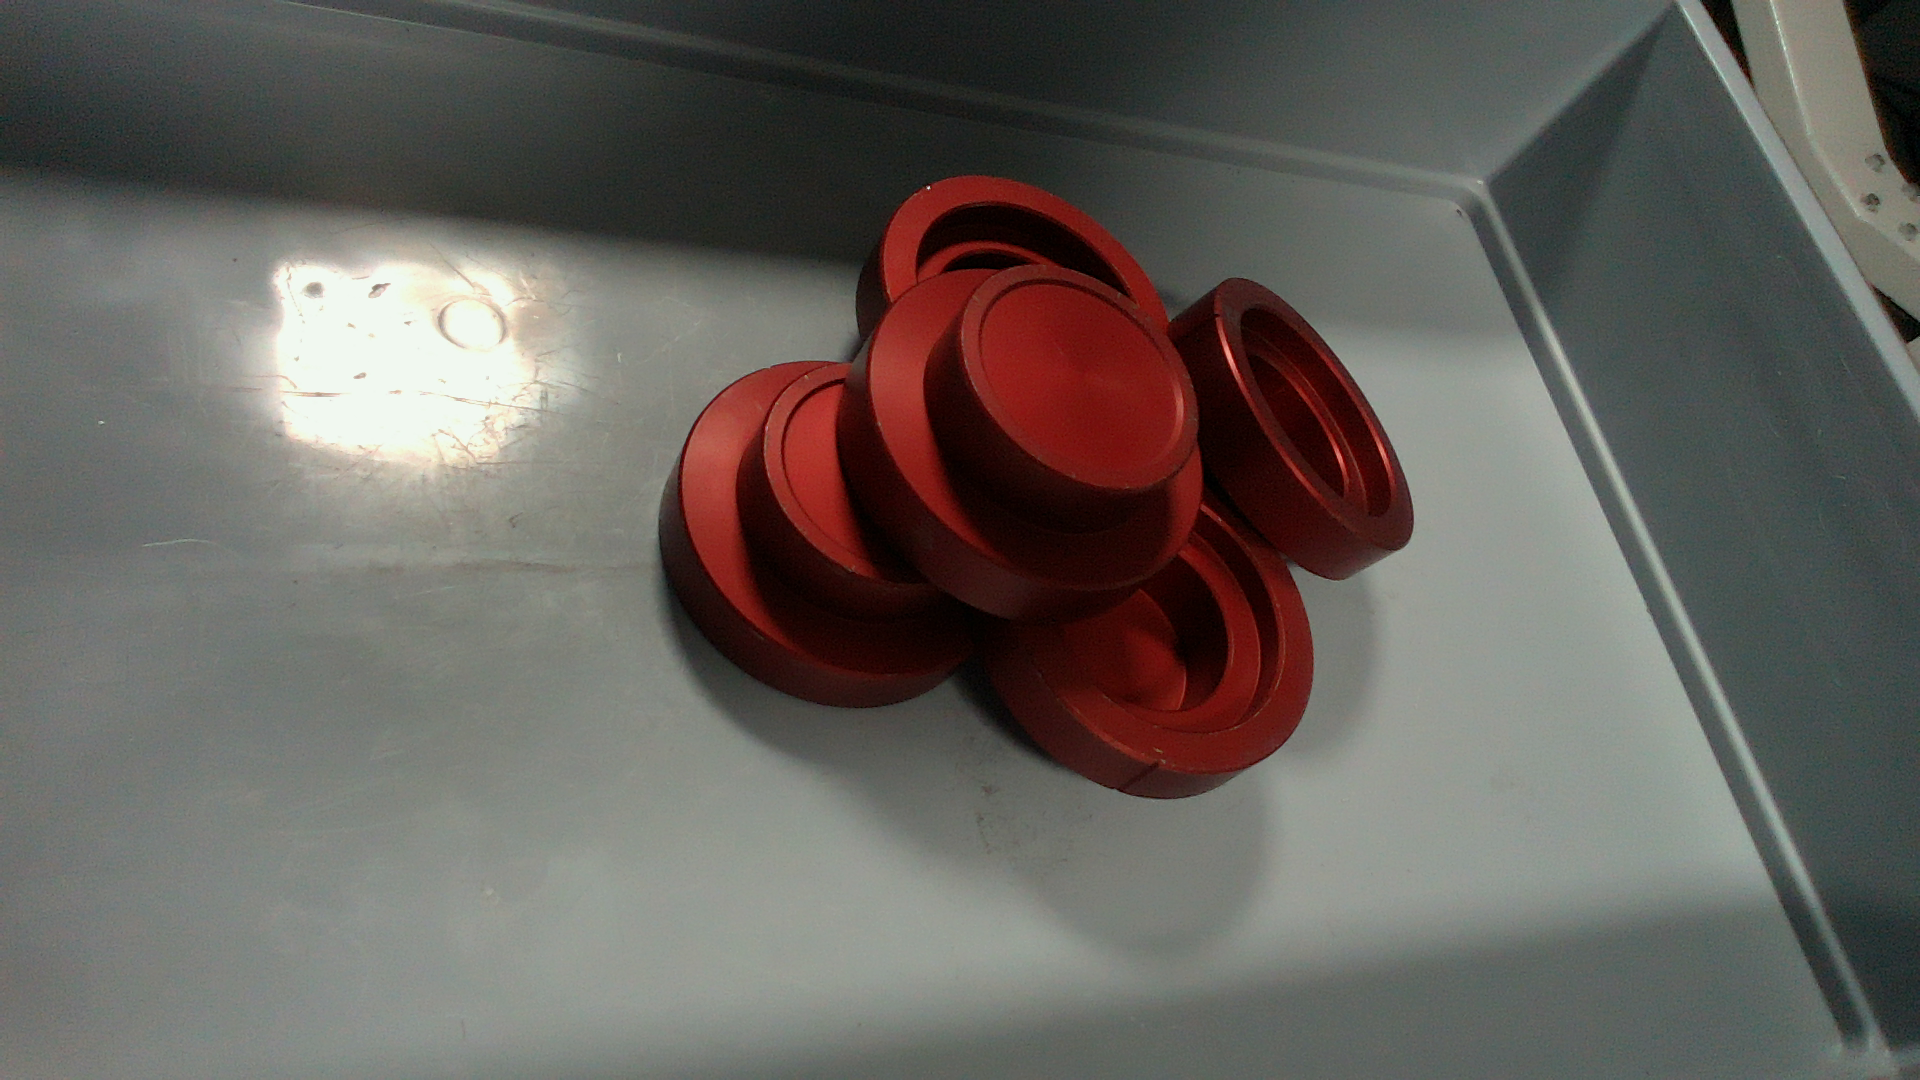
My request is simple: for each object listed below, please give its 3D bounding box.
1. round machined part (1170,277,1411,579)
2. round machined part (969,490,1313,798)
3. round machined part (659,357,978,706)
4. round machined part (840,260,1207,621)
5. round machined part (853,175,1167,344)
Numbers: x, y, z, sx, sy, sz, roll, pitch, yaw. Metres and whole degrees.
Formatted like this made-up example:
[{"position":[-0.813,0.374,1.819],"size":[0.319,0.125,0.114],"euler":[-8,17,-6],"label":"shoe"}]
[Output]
[{"position":[0.095,-0.031,0.433],"size":[0.098,0.042,0.098],"euler":[32,39,-30],"label":"round machined part"},{"position":[0.046,0.026,0.386],"size":[0.098,0.042,0.098],"euler":[14,56,-21],"label":"round machined part"},{"position":[-0.027,-0.009,0.366],"size":[0.098,0.042,0.098],"euler":[14,56,-21],"label":"round machined part"},{"position":[0.022,-0.032,0.353],"size":[0.098,0.042,0.098],"euler":[14,56,-21],"label":"round machined part"},{"position":[0.013,-0.060,0.421],"size":[0.098,0.042,0.098],"euler":[14,56,-21],"label":"round machined part"}]
